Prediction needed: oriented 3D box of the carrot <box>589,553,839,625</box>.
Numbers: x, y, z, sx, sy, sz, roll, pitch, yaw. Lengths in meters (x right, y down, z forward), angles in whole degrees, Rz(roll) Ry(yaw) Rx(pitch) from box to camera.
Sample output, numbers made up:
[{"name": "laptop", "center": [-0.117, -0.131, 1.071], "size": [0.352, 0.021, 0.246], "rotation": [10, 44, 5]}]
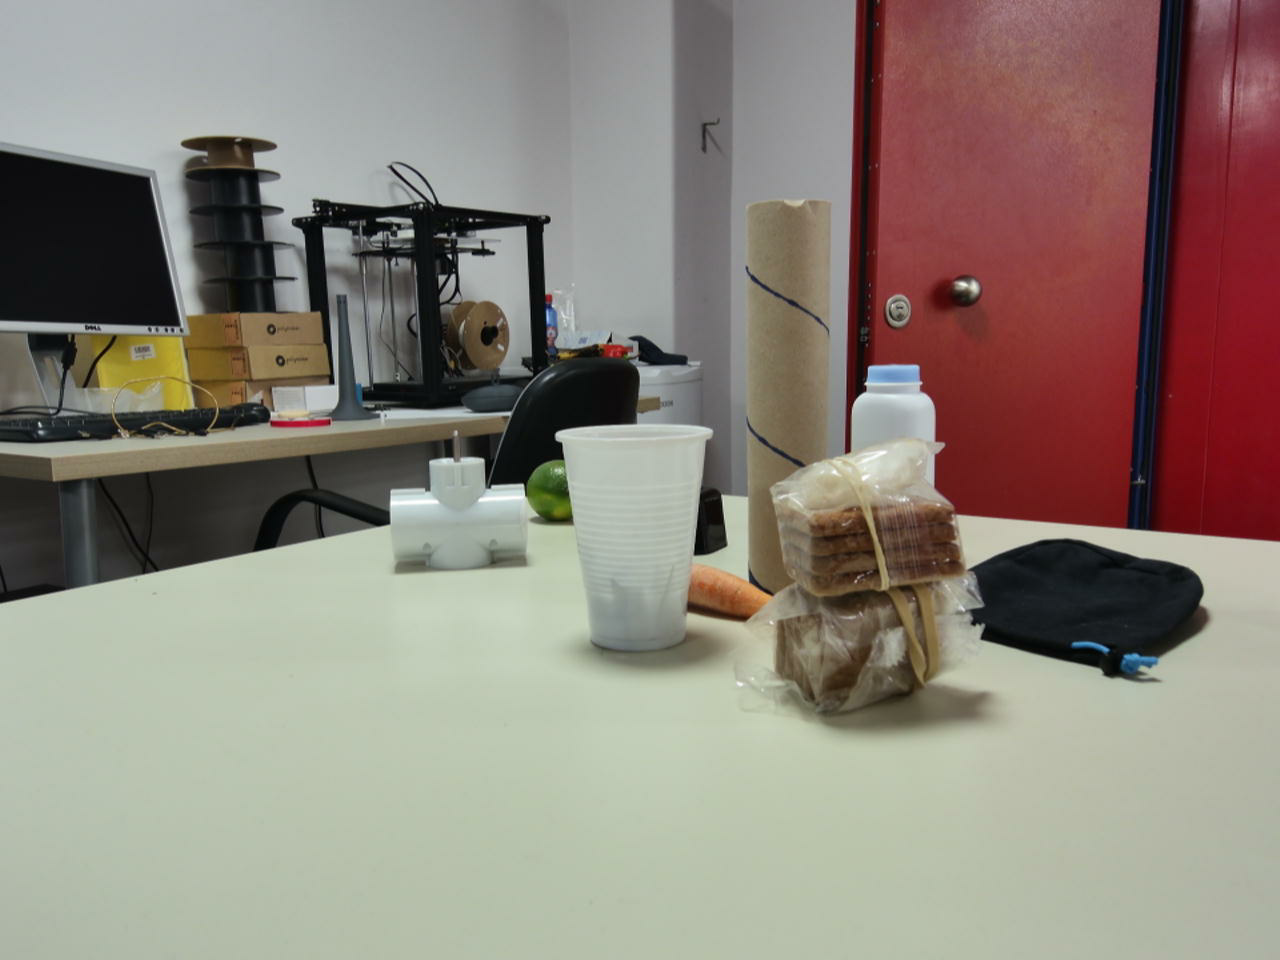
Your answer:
[{"name": "carrot", "center": [0.038, 0.061, 0.563], "size": [0.163, 0.029, 0.031], "rotation": [5, 7, 35]}]
